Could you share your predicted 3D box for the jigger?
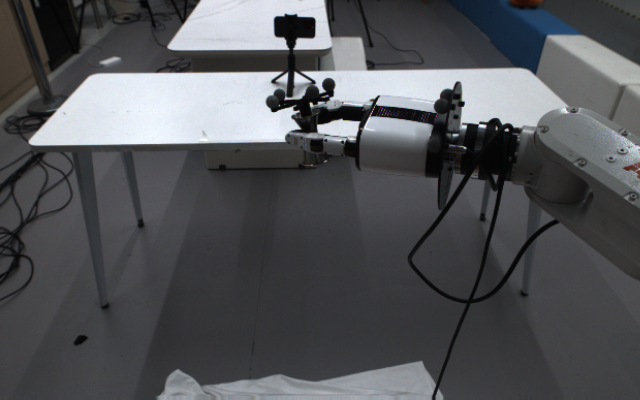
[{"bbox_3d":[-0.011,-0.086,0.662,0.043,0.071,0.043,-11,24,5],"label":"jigger"}]
